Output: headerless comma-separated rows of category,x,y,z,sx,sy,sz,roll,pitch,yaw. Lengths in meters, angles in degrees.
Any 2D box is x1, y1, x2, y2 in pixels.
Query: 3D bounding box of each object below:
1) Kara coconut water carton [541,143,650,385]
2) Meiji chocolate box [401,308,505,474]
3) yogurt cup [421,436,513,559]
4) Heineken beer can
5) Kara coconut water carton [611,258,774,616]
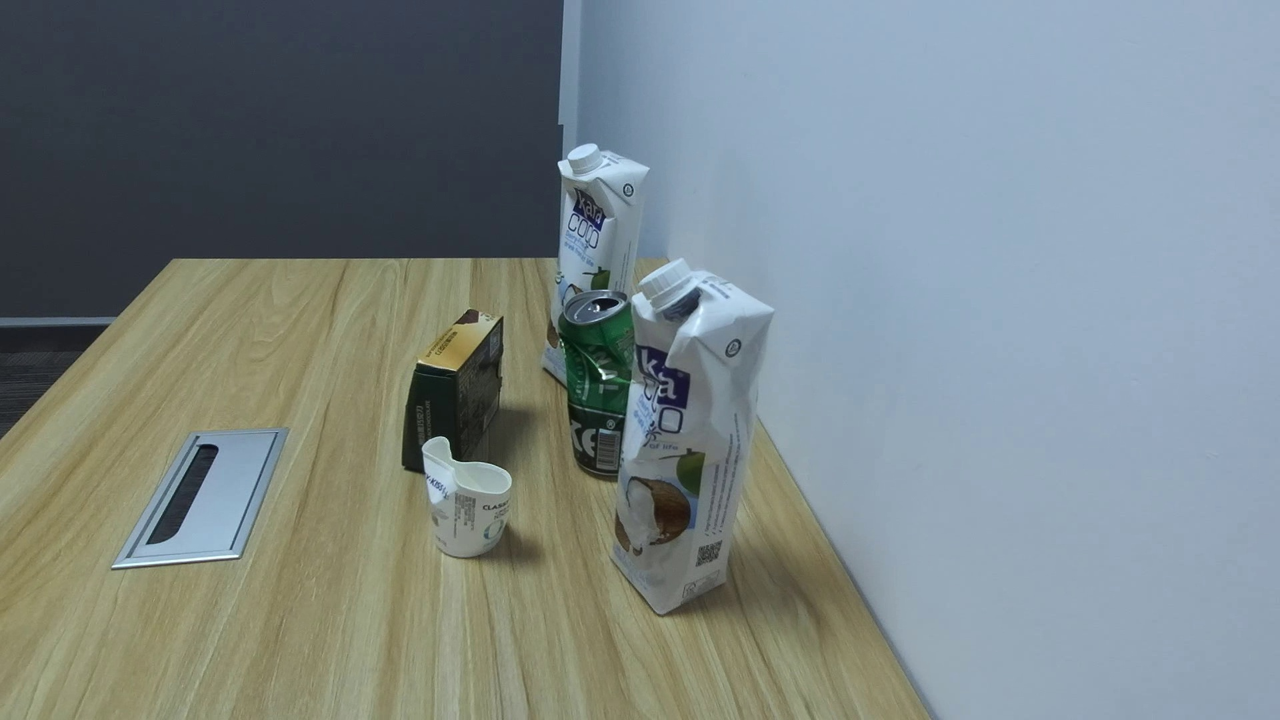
Kara coconut water carton,-0.044,-0.089,0.698,0.071,0.244,0.099,-16,34,-35
Meiji chocolate box,-0.164,0.025,0.622,0.058,0.110,0.113,13,31,2
yogurt cup,-0.129,0.104,0.530,0.075,0.071,0.053,9,31,6
Heineken beer can,-0.026,0.022,0.612,0.079,0.159,0.067,-7,24,-11
Kara coconut water carton,0.027,0.048,0.463,0.078,0.255,0.083,-10,34,-20
